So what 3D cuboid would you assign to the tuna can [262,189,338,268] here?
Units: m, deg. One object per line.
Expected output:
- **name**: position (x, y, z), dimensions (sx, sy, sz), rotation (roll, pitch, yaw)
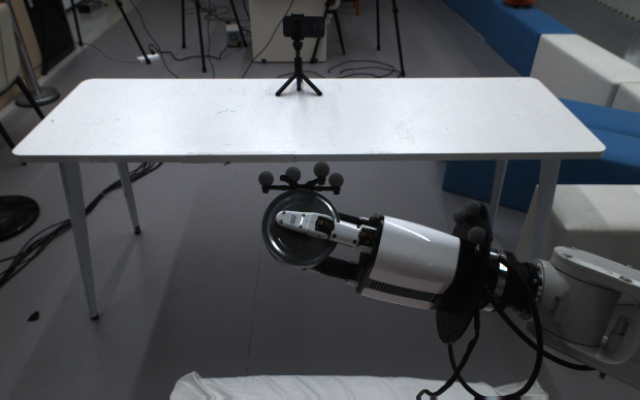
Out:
- **tuna can**: position (-0.018, 0.036, 0.530), dimensions (0.085, 0.034, 0.085), rotation (1, 71, -4)
